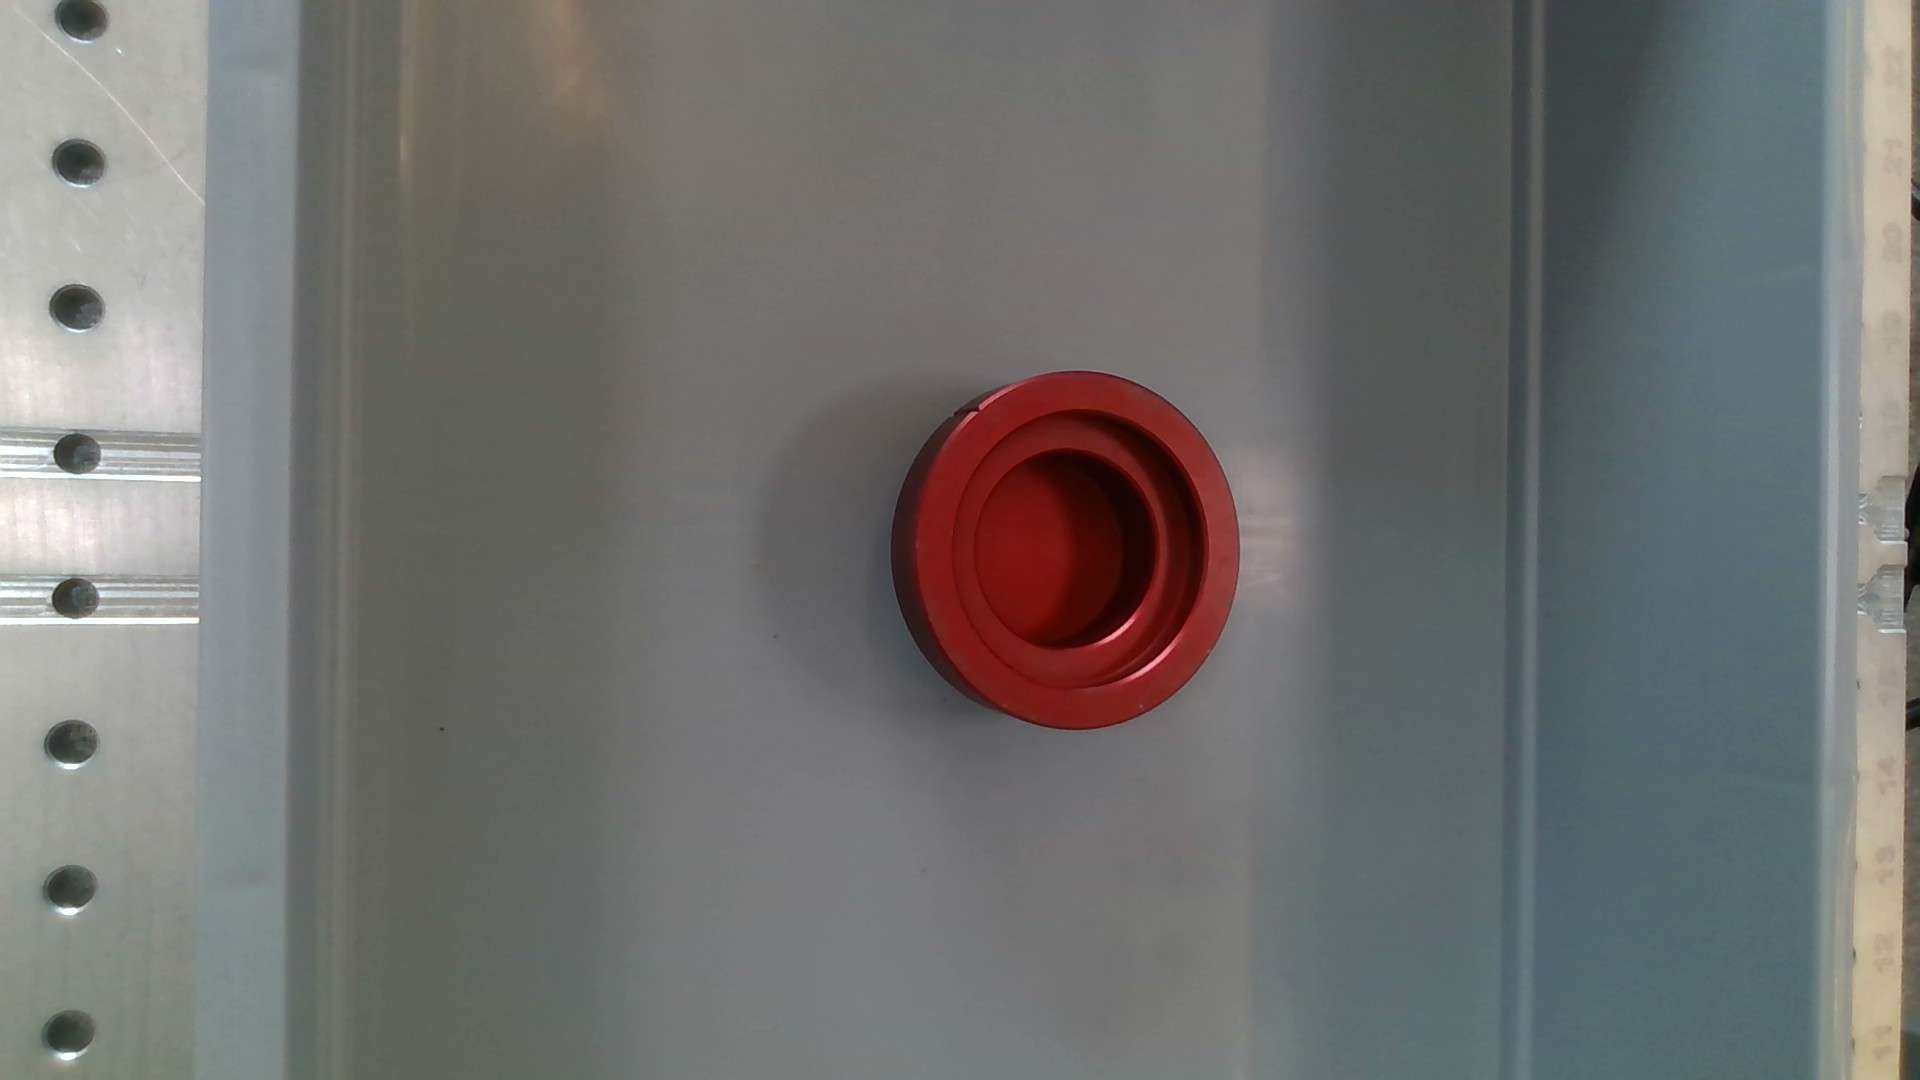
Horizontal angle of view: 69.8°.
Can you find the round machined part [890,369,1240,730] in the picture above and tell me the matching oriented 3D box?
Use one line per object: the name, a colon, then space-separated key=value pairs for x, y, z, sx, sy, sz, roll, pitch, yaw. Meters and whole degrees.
round machined part: x=0.027 y=0.003 z=0.392 sx=0.098 sy=0.042 sz=0.098 roll=0 pitch=90 yaw=-20
